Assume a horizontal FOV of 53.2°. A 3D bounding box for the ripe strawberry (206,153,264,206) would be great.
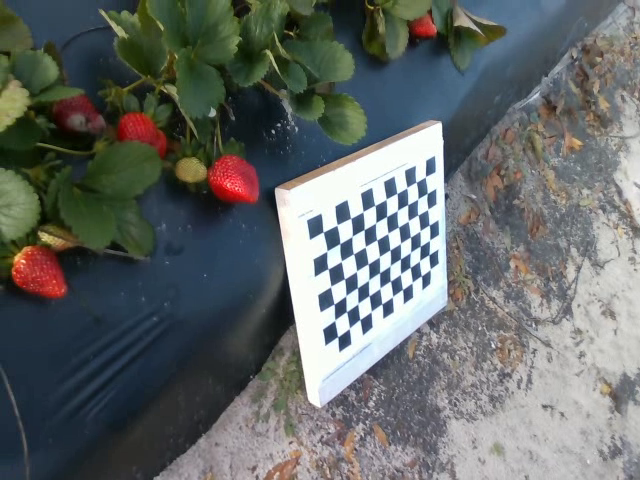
[{"bbox_3d":[-0.067,-0.045,0.400,0.018,0.022,0.016,-18,-7,10],"label":"ripe strawberry"}]
